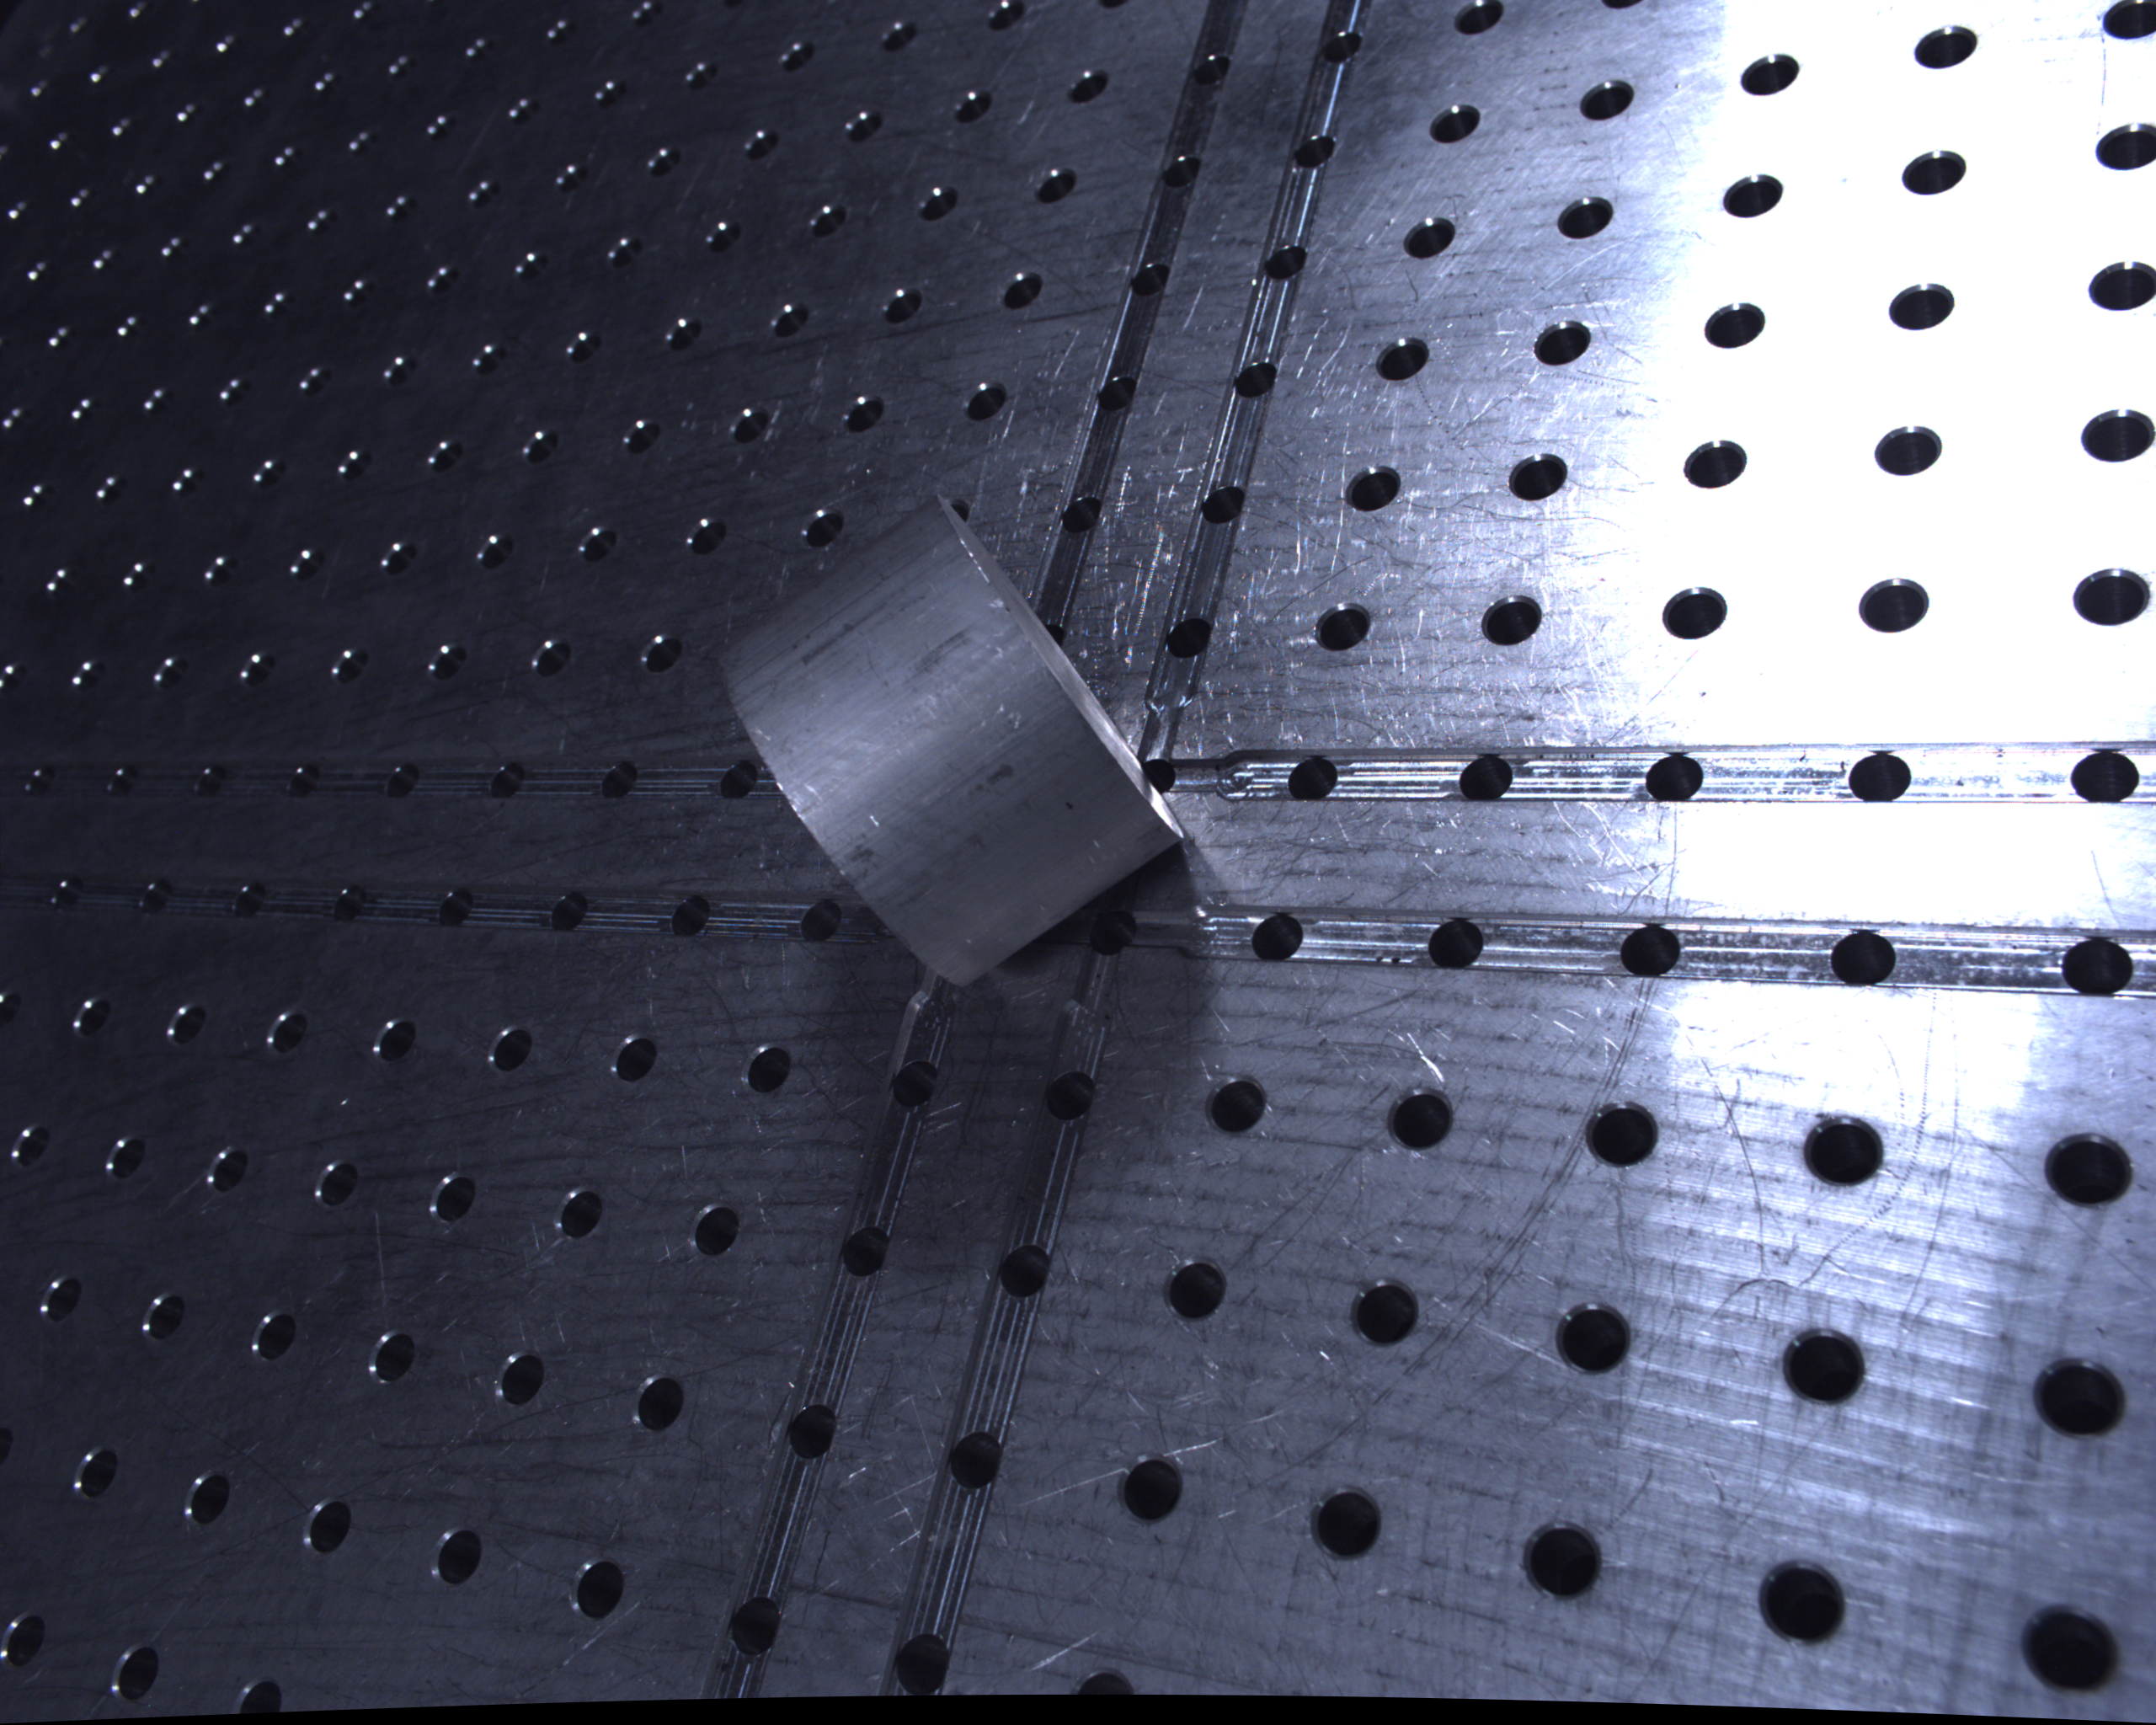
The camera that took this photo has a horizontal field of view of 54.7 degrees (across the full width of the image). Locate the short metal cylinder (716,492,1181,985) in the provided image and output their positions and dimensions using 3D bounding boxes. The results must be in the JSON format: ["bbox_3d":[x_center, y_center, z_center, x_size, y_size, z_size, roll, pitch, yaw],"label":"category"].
[{"bbox_3d":[-0.024,-0.023,0.397,0.050,0.080,0.080,-35,52,5],"label":"short metal cylinder"}]
